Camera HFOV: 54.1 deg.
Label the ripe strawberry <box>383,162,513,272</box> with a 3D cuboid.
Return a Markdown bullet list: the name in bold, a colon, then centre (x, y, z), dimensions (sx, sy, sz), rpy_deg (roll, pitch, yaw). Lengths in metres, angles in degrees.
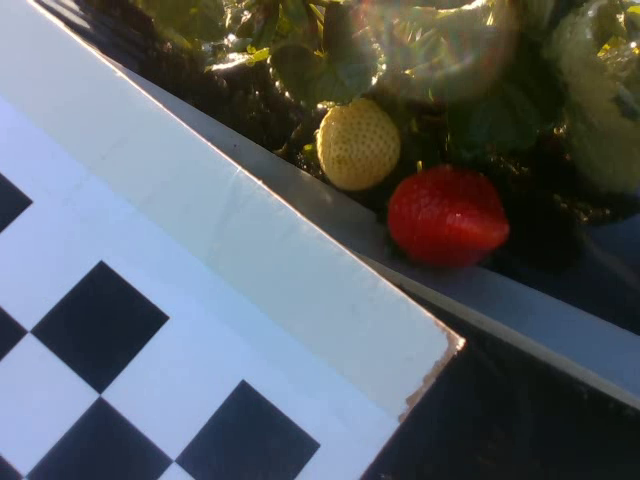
- **ripe strawberry**: centre (0.047, -0.008, 0.216), dimensions (0.045, 0.049, 0.063), rpy_deg (-26, 12, -5)
